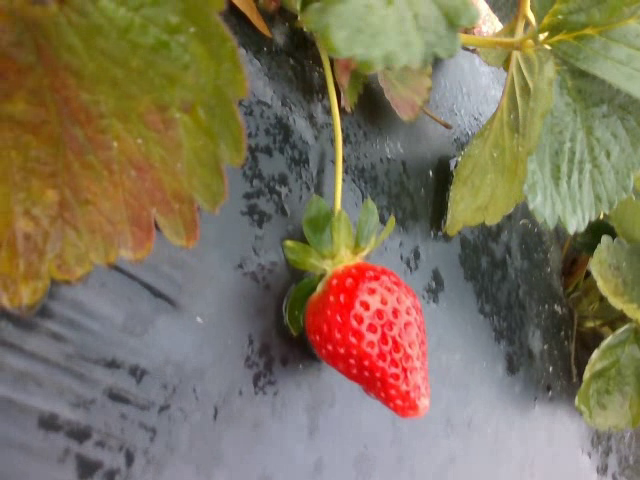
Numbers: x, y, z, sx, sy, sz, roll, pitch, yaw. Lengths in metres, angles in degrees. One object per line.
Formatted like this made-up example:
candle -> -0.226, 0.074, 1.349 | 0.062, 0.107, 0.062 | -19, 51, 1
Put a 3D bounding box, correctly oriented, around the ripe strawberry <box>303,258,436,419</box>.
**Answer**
ripe strawberry -> 0.018, 0.030, 0.193 | 0.045, 0.054, 0.048 | -3, -27, -29
